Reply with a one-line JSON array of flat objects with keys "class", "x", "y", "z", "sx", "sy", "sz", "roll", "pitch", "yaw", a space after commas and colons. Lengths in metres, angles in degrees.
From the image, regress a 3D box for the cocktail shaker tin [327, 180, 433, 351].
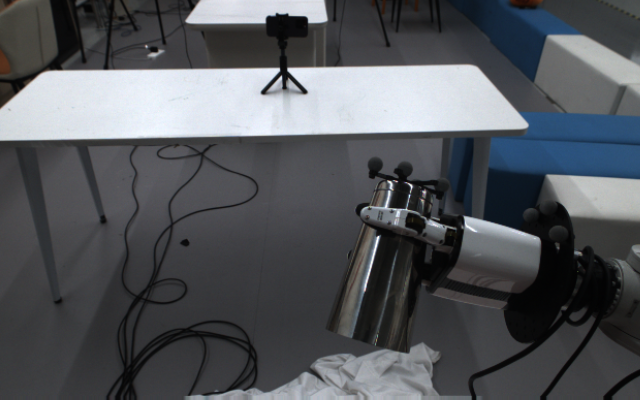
[{"class": "cocktail shaker tin", "x": 0.077, "y": 0.067, "z": 0.532, "sx": 0.093, "sy": 0.093, "sz": 0.170, "roll": 13, "pitch": 79, "yaw": 15}]
